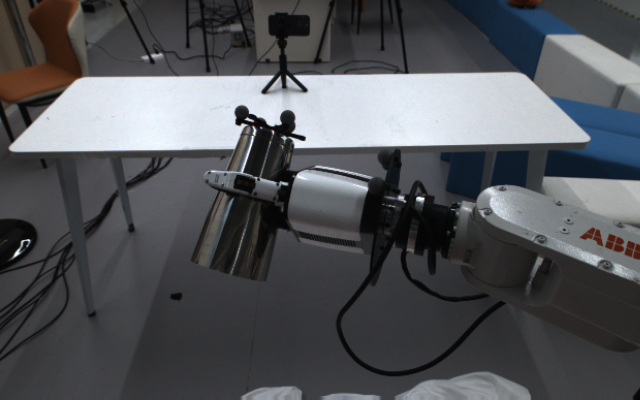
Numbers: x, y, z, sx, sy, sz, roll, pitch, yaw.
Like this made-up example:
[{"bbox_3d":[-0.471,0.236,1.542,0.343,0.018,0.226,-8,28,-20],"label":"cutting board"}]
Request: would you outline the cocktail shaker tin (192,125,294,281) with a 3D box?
[{"bbox_3d":[-0.085,0.003,0.581,0.093,0.170,0.093,15,-6,2],"label":"cocktail shaker tin"}]
